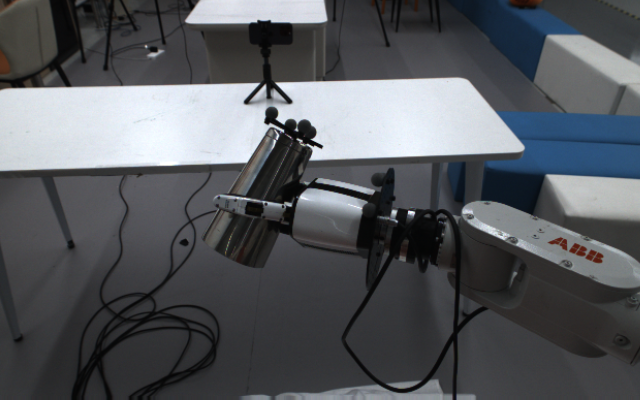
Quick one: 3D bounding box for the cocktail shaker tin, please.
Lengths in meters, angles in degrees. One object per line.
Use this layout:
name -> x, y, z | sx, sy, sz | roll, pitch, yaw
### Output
cocktail shaker tin -> -0.078, -0.006, 0.645 | 0.093, 0.170, 0.093 | 27, 2, -1
